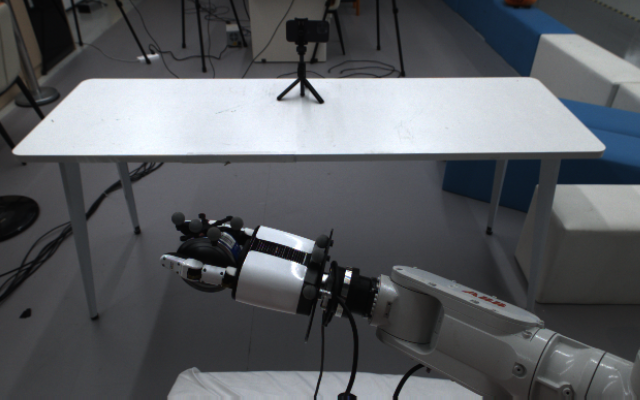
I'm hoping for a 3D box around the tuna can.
[{"bbox_3d":[-0.149,0.082,0.661,0.085,0.085,0.034,5,22,5],"label":"tuna can"}]
